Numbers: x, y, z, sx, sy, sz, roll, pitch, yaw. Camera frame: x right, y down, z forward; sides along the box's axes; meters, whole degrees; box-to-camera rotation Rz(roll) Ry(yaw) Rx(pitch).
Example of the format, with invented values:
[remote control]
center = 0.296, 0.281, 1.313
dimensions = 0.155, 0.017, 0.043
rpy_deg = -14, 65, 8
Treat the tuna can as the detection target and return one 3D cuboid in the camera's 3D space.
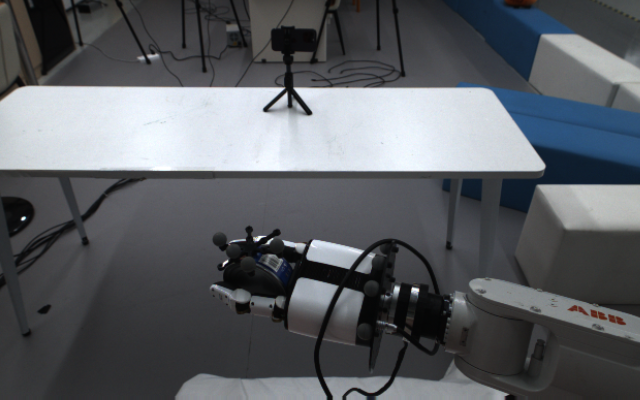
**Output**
[tuna can]
center = -0.072, 0.097, 0.605
dimensions = 0.085, 0.085, 0.034
rpy_deg = 14, 40, 16
